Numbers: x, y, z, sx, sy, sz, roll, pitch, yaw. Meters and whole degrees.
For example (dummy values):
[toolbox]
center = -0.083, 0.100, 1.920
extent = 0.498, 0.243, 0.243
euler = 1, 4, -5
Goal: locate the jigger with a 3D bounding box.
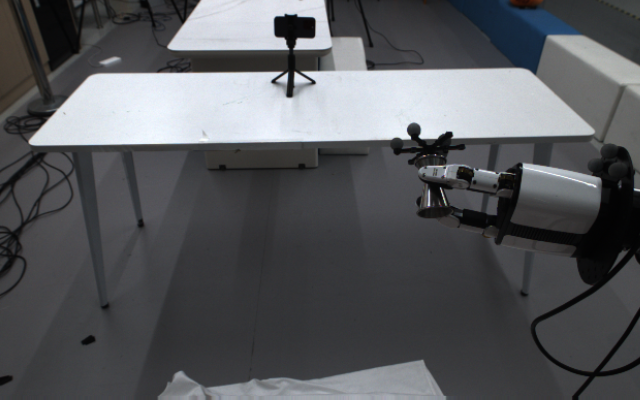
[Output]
[jigger]
center = 0.138, -0.019, 0.592
extent = 0.043, 0.043, 0.071
euler = 1, 70, -2
